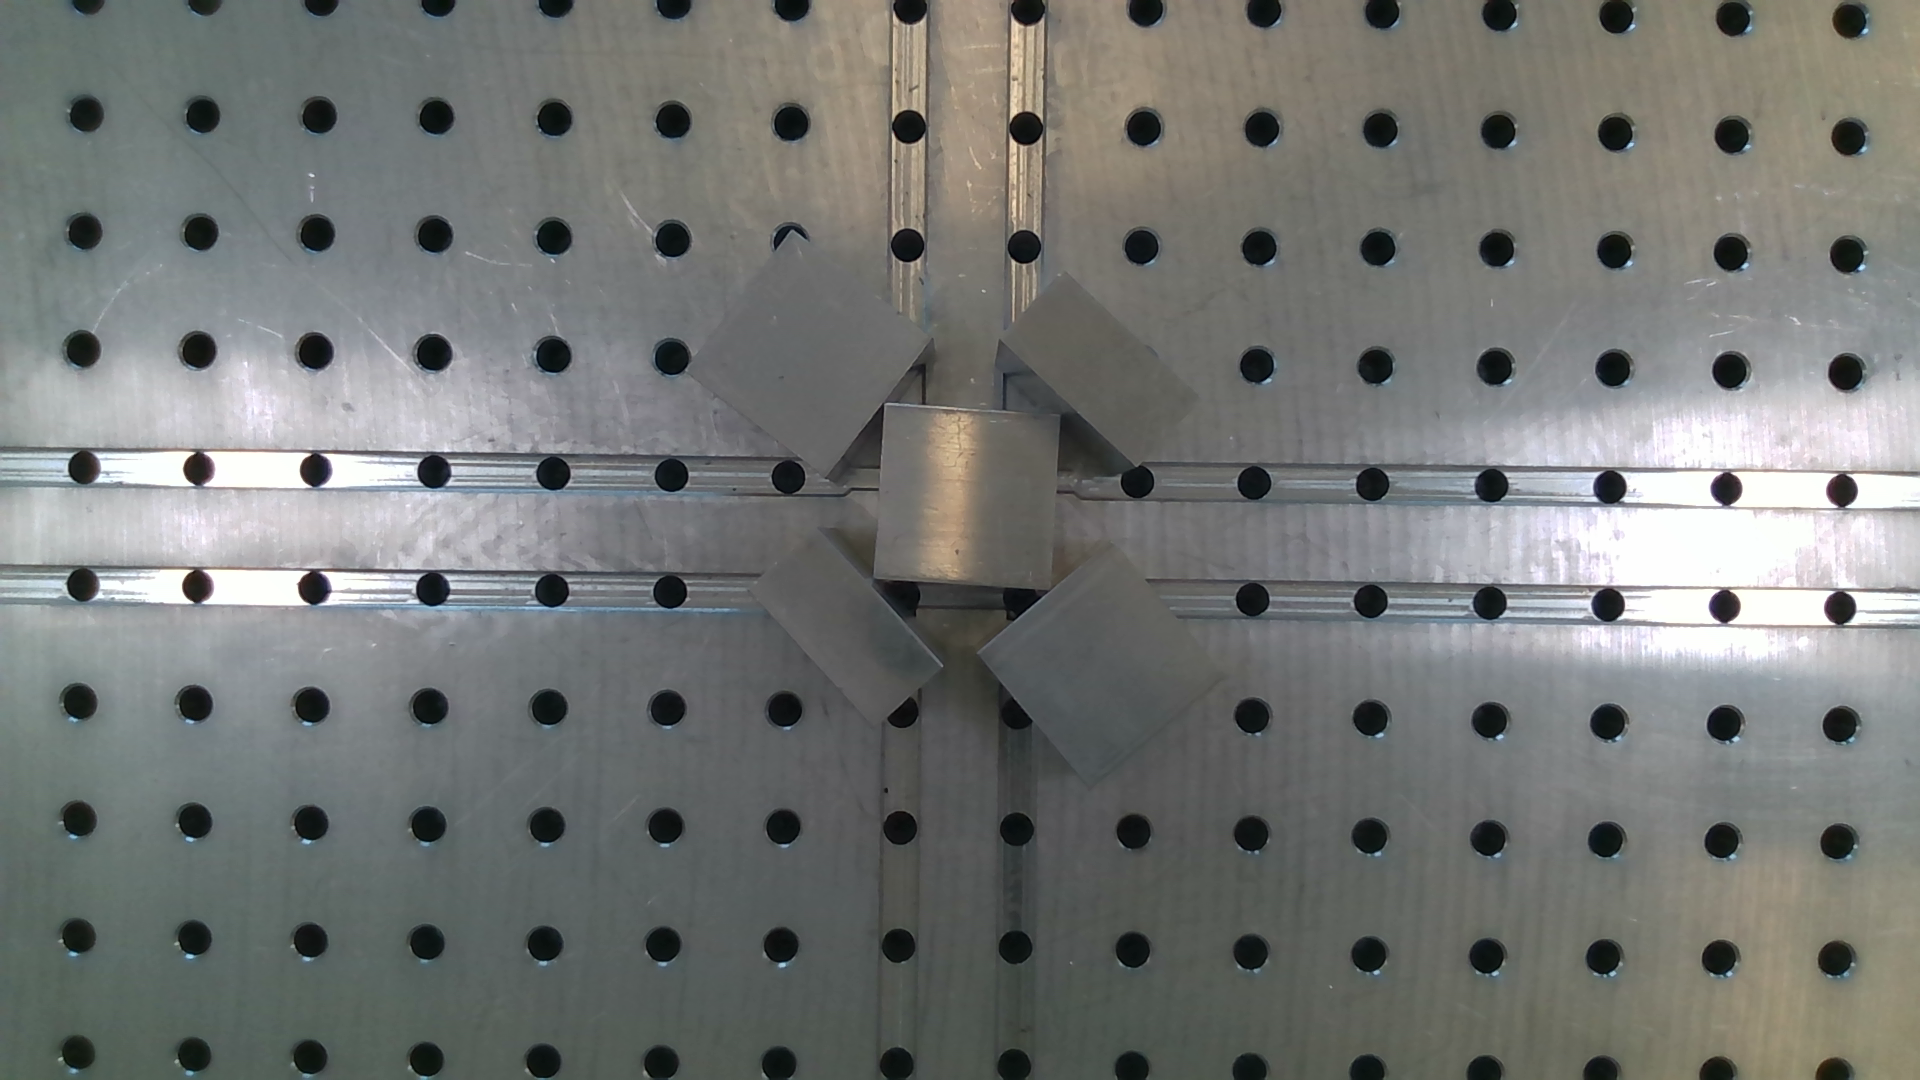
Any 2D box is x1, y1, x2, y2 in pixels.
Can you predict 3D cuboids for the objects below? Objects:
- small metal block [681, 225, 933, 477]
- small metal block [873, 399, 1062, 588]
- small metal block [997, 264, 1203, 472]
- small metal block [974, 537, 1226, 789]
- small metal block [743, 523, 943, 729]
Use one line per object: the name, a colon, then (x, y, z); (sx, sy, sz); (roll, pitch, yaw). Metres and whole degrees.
small metal block: (-0.043, -0.053, 0.397); (0.050, 0.025, 0.050); (38, 91, -1)
small metal block: (0.002, -0.013, 0.397); (0.050, 0.025, 0.050); (3, 89, -1)
small metal block: (0.037, -0.046, 0.385); (0.050, 0.050, 0.025); (44, 91, 1)
small metal block: (0.039, 0.034, 0.398); (0.050, 0.025, 0.050); (-40, 90, 0)
small metal block: (-0.031, 0.023, 0.385); (0.025, 0.050, 0.050); (-42, 90, 0)
